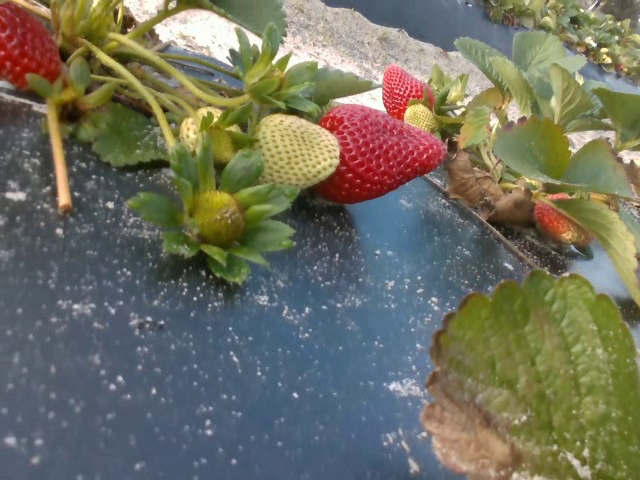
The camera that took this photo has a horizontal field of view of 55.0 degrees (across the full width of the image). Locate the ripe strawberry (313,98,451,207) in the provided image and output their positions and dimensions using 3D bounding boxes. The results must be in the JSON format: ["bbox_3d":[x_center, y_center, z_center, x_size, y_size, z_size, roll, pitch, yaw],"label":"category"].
[{"bbox_3d":[0.029,-0.037,0.262,0.055,0.051,0.048,5,-31,21],"label":"ripe strawberry"}]
